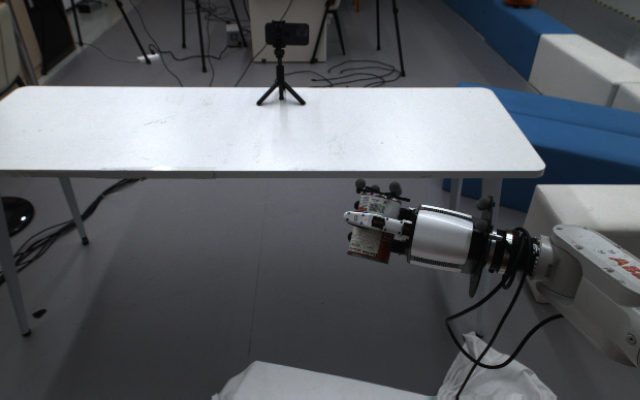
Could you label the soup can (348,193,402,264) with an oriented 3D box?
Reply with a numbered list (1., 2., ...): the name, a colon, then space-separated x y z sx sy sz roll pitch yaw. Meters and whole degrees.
1. soup can: 0.087 0.045 0.770 0.067 0.101 0.067 13 -6 1
